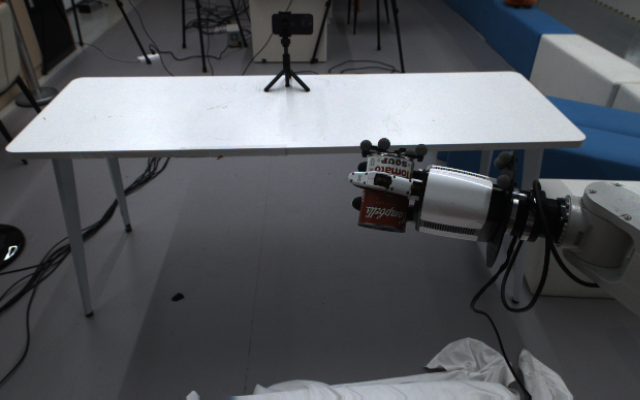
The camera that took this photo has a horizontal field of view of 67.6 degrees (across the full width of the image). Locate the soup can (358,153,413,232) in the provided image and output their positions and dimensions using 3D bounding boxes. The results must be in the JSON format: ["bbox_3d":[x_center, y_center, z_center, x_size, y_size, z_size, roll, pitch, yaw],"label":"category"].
[{"bbox_3d":[0.094,-0.010,0.680,0.067,0.101,0.067,9,-6,1],"label":"soup can"}]
